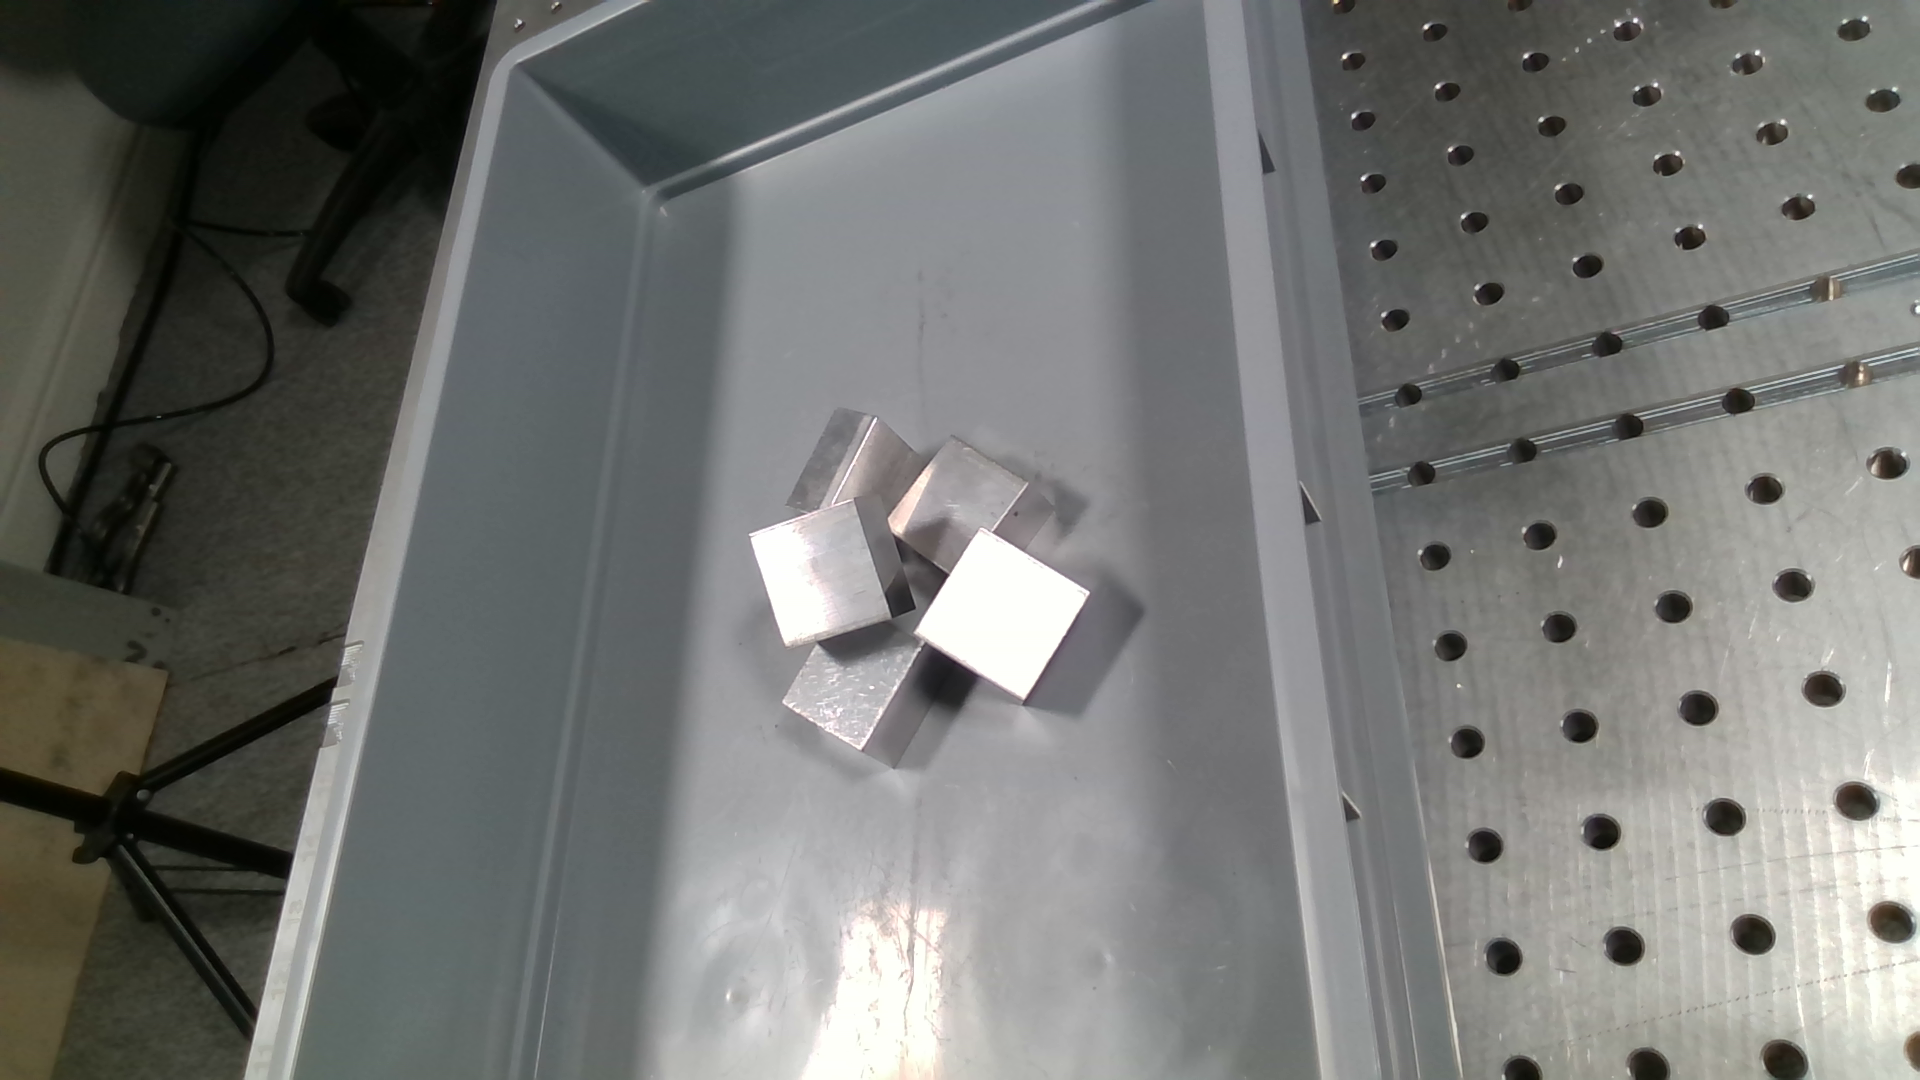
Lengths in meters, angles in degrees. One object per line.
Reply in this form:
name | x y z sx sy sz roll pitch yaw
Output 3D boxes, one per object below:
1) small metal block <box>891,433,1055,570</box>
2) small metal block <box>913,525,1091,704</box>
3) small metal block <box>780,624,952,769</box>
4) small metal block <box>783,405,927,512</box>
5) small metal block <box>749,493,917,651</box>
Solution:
small metal block | 0.003 -0.010 0.586 0.050 0.025 0.050 35 86 39
small metal block | 0.017 0.030 0.543 0.050 0.025 0.050 31 83 6
small metal block | -0.039 0.060 0.576 0.050 0.025 0.050 24 80 38
small metal block | -0.044 -0.024 0.606 0.025 0.050 0.050 17 75 37
small metal block | -0.052 0.013 0.562 0.050 0.025 0.050 -18 90 23
